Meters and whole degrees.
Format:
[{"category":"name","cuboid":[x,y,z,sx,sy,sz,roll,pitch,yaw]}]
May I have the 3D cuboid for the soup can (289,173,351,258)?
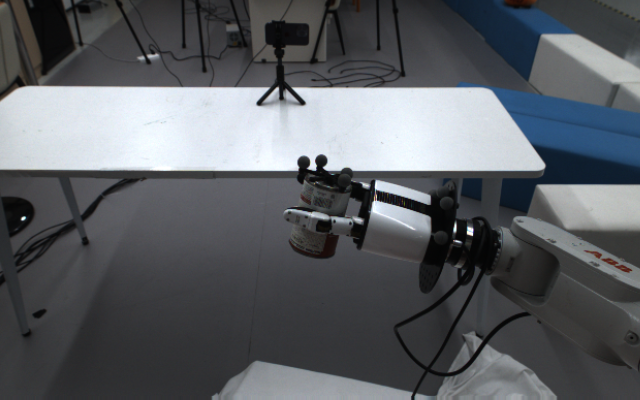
[{"category":"soup can","cuboid":[0.002,0.021,0.668,0.067,0.101,0.067,13,18,-4]}]
